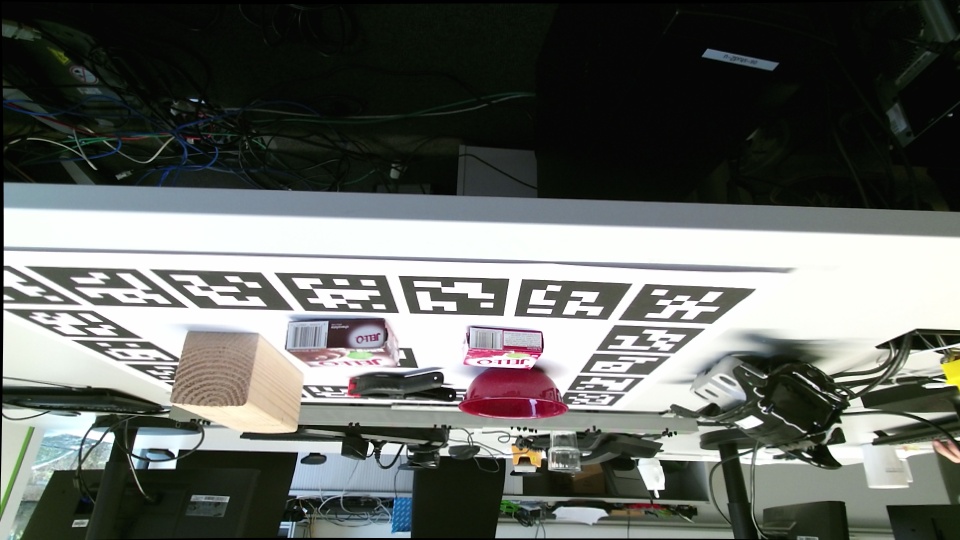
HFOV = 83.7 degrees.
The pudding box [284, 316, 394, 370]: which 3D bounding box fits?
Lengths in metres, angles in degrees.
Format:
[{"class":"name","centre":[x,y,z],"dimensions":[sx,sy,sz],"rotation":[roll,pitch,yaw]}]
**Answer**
[{"class":"pudding box","centre":[-0.163,0.089,0.630],"dimensions":[0.114,0.038,0.090],"rotation":[-1,148,-1]}]

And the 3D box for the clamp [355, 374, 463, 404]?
[{"class":"clamp","centre":[-0.116,0.190,0.833],"dimensions":[0.166,0.036,0.122],"rotation":[-2,152,10]}]

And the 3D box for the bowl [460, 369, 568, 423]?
[{"class":"bowl","centre":[0.047,0.183,0.791],"dimensions":[0.162,0.055,0.162],"rotation":[2,149,1]}]

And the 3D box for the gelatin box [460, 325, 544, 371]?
[{"class":"gelatin box","centre":[0.024,0.097,0.643],"dimensions":[0.090,0.030,0.073],"rotation":[5,150,-7]}]

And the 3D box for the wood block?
[{"class":"wood block","centre":[-0.324,0.163,0.720],"dimensions":[0.090,0.090,0.206],"rotation":[4,151,-2]}]
